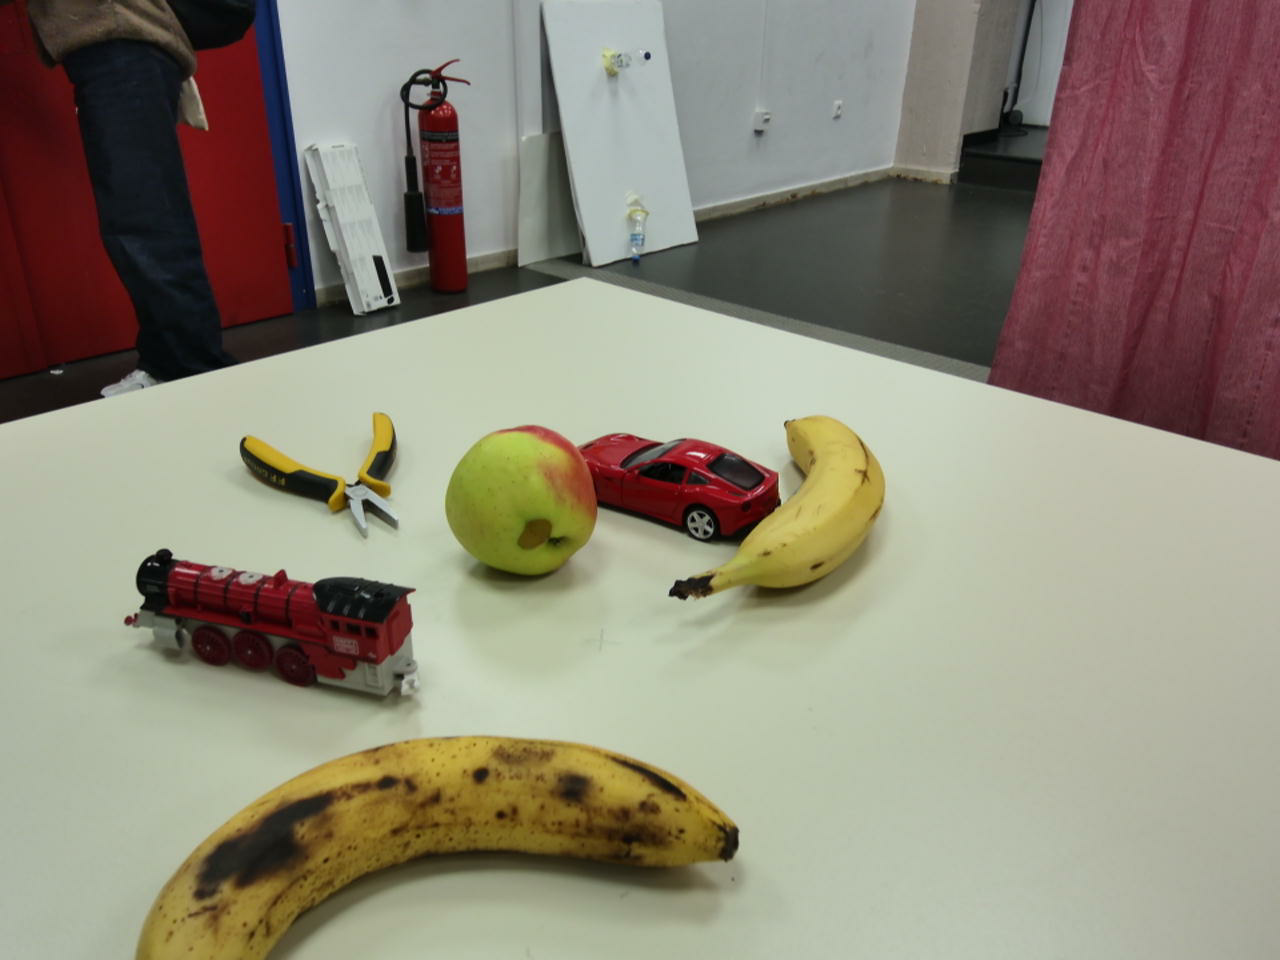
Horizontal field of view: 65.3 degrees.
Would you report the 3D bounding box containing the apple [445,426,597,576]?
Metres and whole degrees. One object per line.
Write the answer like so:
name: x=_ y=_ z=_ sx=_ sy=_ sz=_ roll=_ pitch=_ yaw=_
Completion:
apple: x=-0.058 y=0.010 z=0.507 sx=0.075 sy=0.074 sz=0.075 roll=11 pitch=26 yaw=19
